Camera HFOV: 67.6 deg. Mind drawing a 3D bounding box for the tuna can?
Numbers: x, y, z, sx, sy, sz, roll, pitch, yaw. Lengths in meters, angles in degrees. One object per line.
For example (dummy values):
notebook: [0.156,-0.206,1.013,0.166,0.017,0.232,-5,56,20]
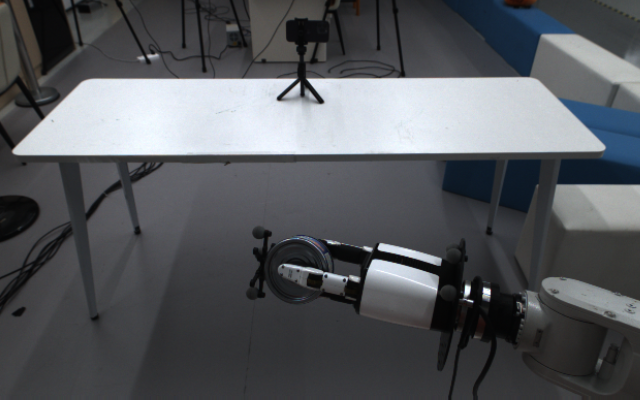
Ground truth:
tuna can: [-0.024,0.091,0.614,0.085,0.085,0.034,10,2,11]
